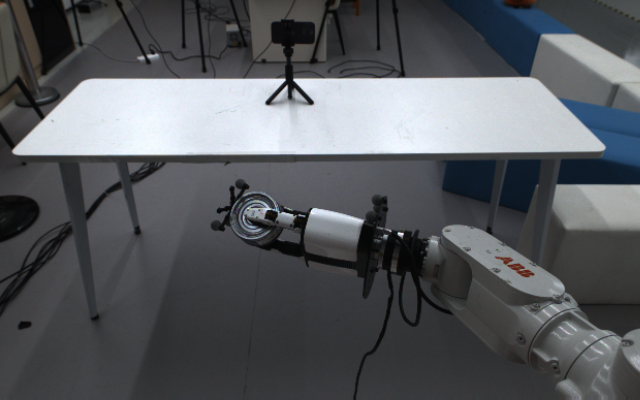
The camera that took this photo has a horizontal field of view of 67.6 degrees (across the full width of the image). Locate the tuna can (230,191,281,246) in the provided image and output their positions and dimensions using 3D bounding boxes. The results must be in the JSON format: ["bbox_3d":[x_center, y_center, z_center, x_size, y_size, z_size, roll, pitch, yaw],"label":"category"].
[{"bbox_3d":[-0.100,0.029,0.782,0.085,0.034,0.085,-3,70,9],"label":"tuna can"}]
